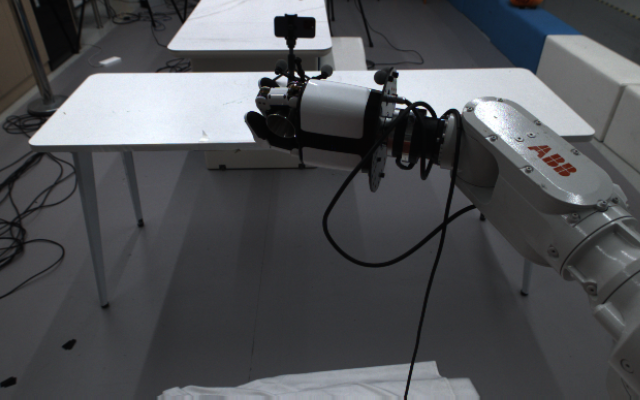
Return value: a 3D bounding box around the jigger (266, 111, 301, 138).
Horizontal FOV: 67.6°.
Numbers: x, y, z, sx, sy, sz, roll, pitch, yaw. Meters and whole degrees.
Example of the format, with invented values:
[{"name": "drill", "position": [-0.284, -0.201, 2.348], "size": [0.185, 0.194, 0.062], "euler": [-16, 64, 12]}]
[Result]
[{"name": "jigger", "position": [-0.038, -0.124, 0.657], "size": [0.043, 0.043, 0.071], "euler": [13, 58, 16]}]
